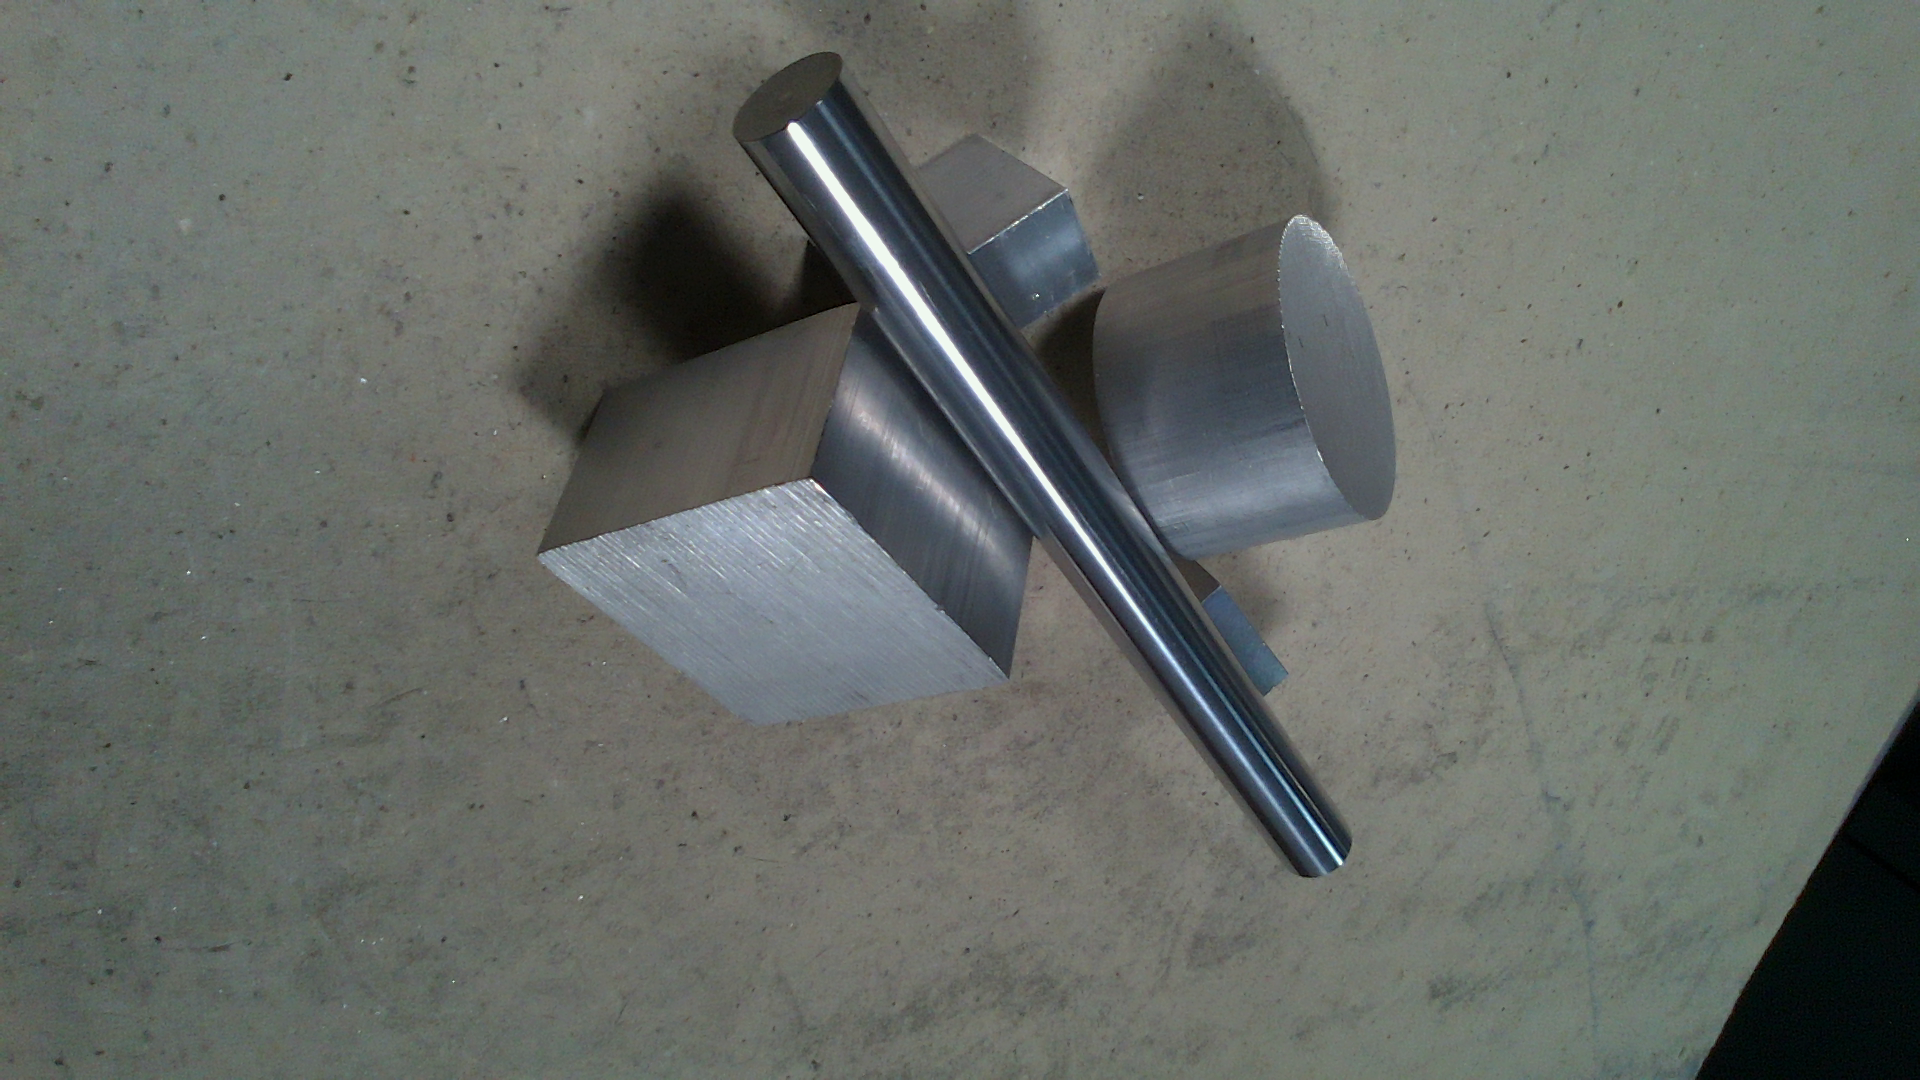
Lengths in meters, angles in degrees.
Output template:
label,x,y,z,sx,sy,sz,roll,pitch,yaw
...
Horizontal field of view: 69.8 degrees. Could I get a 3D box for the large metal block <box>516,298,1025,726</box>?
label,x,y,z,sx,sy,sz,roll,pitch,yaw
large metal block,-0.041,-0.002,0.327,0.080,0.050,0.080,-13,138,31

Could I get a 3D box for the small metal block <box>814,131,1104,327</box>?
label,x,y,z,sx,sy,sz,roll,pitch,yaw
small metal block,-0.002,-0.068,0.331,0.050,0.050,0.025,-34,129,-6

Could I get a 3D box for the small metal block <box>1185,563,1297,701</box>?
label,x,y,z,sx,sy,sz,roll,pitch,yaw
small metal block,0.070,0.025,0.422,0.025,0.050,0.050,-42,129,1

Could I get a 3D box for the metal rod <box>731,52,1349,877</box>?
label,x,y,z,sx,sy,sz,roll,pitch,yaw
metal rod,0.041,0.008,0.352,0.025,0.025,0.301,-40,129,-1

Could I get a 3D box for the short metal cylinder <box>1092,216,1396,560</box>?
label,x,y,z,sx,sy,sz,roll,pitch,yaw
short metal cylinder,0.077,-0.039,0.364,0.050,0.080,0.080,-14,138,32
